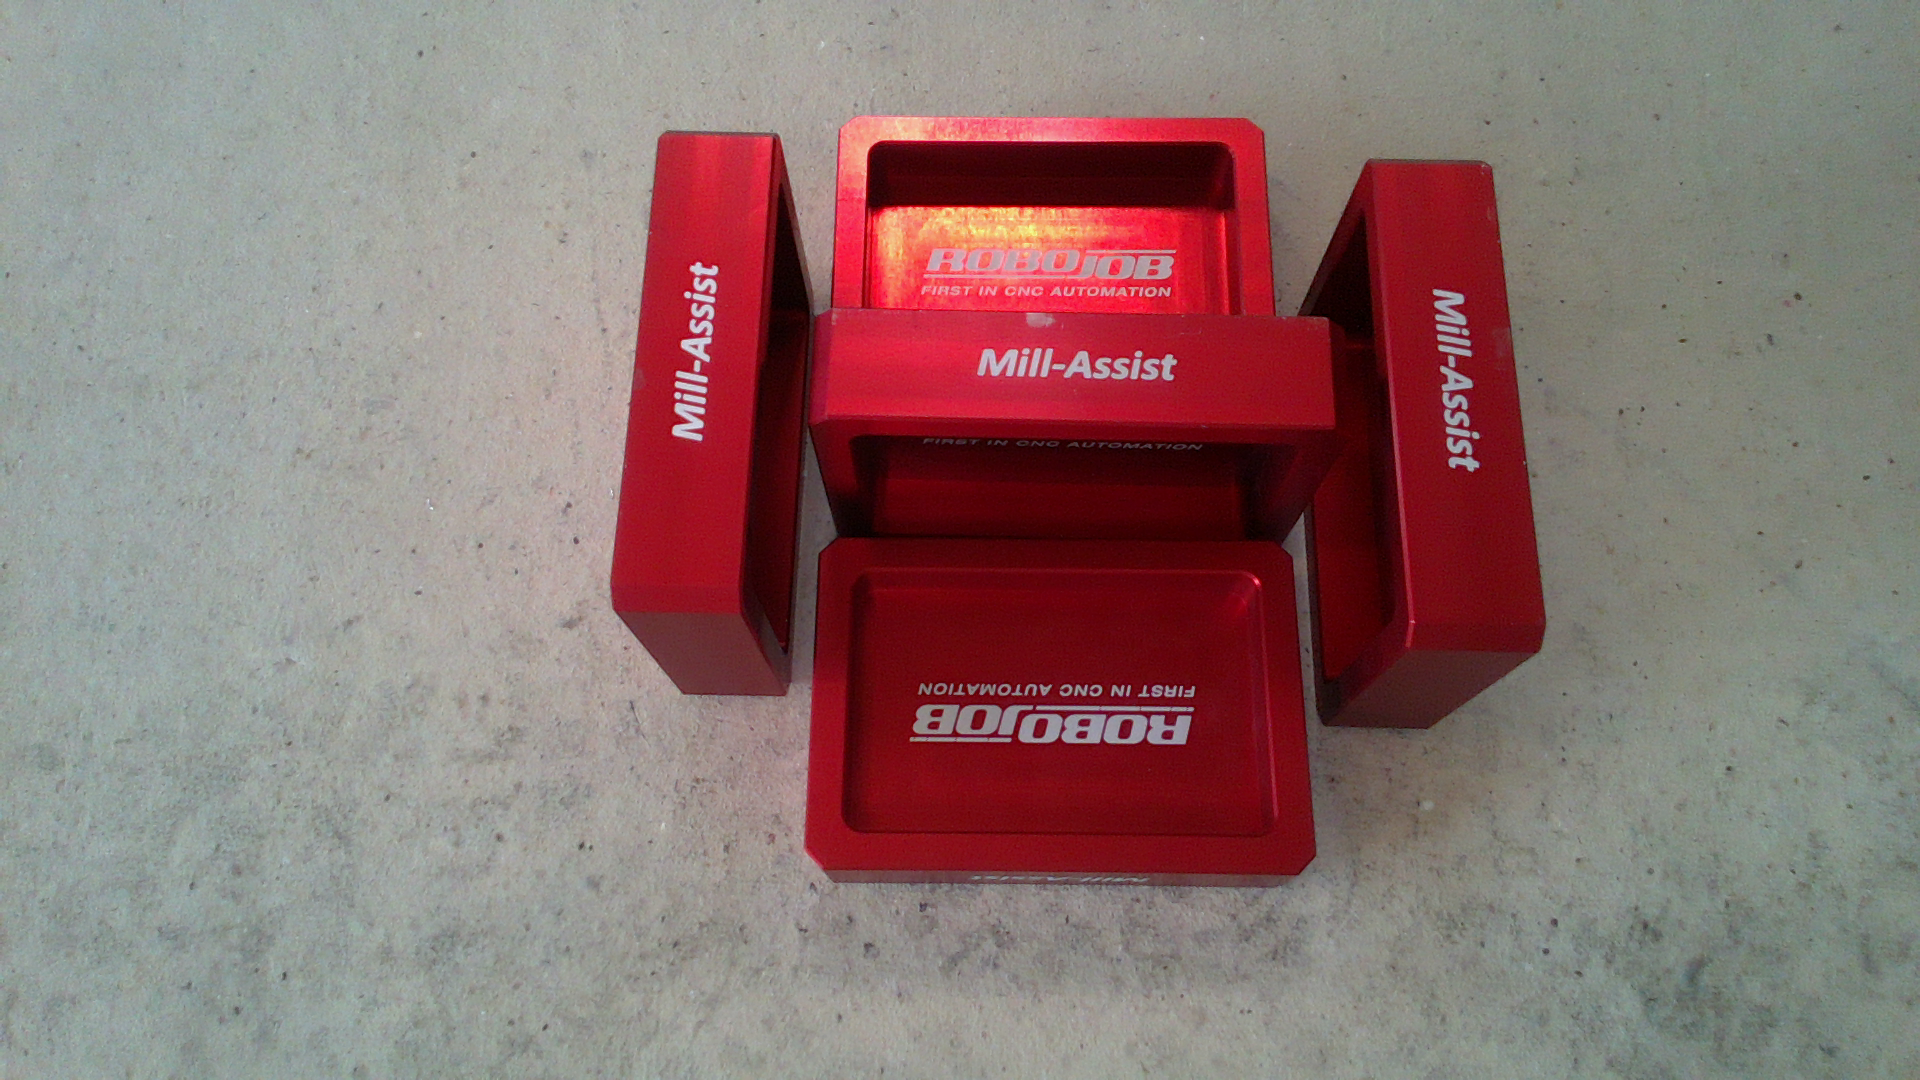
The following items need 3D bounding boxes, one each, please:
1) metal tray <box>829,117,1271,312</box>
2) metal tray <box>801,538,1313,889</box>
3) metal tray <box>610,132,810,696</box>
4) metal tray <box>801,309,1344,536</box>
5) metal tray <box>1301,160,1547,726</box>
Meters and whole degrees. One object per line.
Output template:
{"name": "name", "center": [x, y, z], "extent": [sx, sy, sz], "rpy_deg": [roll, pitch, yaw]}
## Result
{"name": "metal tray", "center": [0.027, -0.082, 0.423], "extent": [0.130, 0.030, 0.090], "rpy_deg": [0, 73, 0]}
{"name": "metal tray", "center": [0.025, 0.047, 0.377], "extent": [0.130, 0.030, 0.090], "rpy_deg": [1, 69, 0]}
{"name": "metal tray", "center": [-0.063, -0.031, 0.372], "extent": [0.030, 0.090, 0.130], "rpy_deg": [1, 70, 0]}
{"name": "metal tray", "center": [0.027, -0.027, 0.372], "extent": [0.130, 0.090, 0.030], "rpy_deg": [1, 71, 0]}
{"name": "metal tray", "center": [0.118, -0.023, 0.369], "extent": [0.030, 0.090, 0.130], "rpy_deg": [1, 70, 1]}
